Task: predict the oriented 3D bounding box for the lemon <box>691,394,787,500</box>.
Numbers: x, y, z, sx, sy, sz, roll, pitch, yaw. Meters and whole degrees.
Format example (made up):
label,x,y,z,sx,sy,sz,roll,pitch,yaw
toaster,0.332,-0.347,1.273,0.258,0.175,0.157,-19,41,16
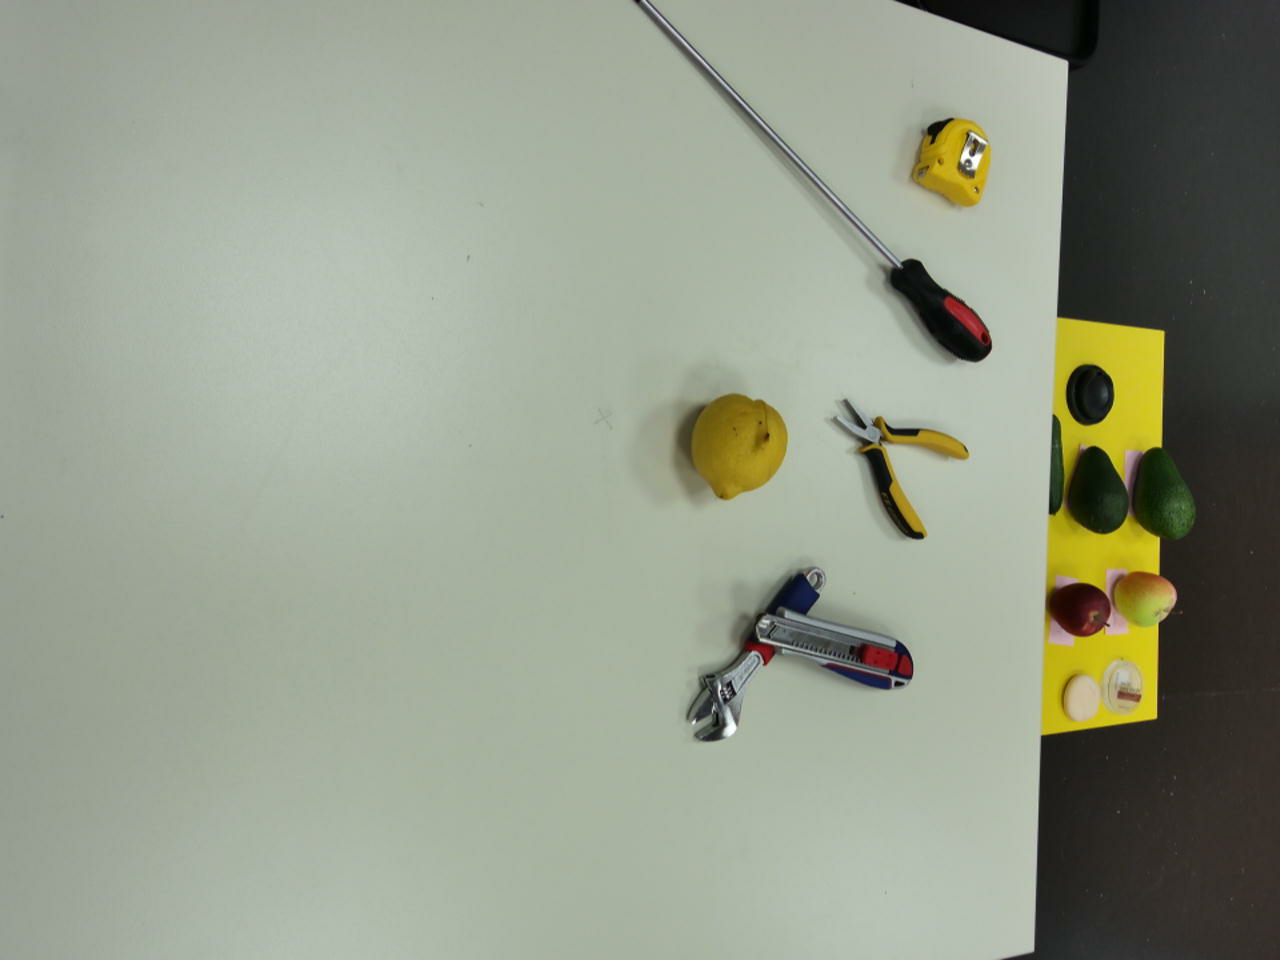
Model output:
label,x,y,z,sx,sy,sz,roll,pitch,yaw
lemon,0.073,-0.026,0.720,0.071,0.071,0.070,-33,106,-24
